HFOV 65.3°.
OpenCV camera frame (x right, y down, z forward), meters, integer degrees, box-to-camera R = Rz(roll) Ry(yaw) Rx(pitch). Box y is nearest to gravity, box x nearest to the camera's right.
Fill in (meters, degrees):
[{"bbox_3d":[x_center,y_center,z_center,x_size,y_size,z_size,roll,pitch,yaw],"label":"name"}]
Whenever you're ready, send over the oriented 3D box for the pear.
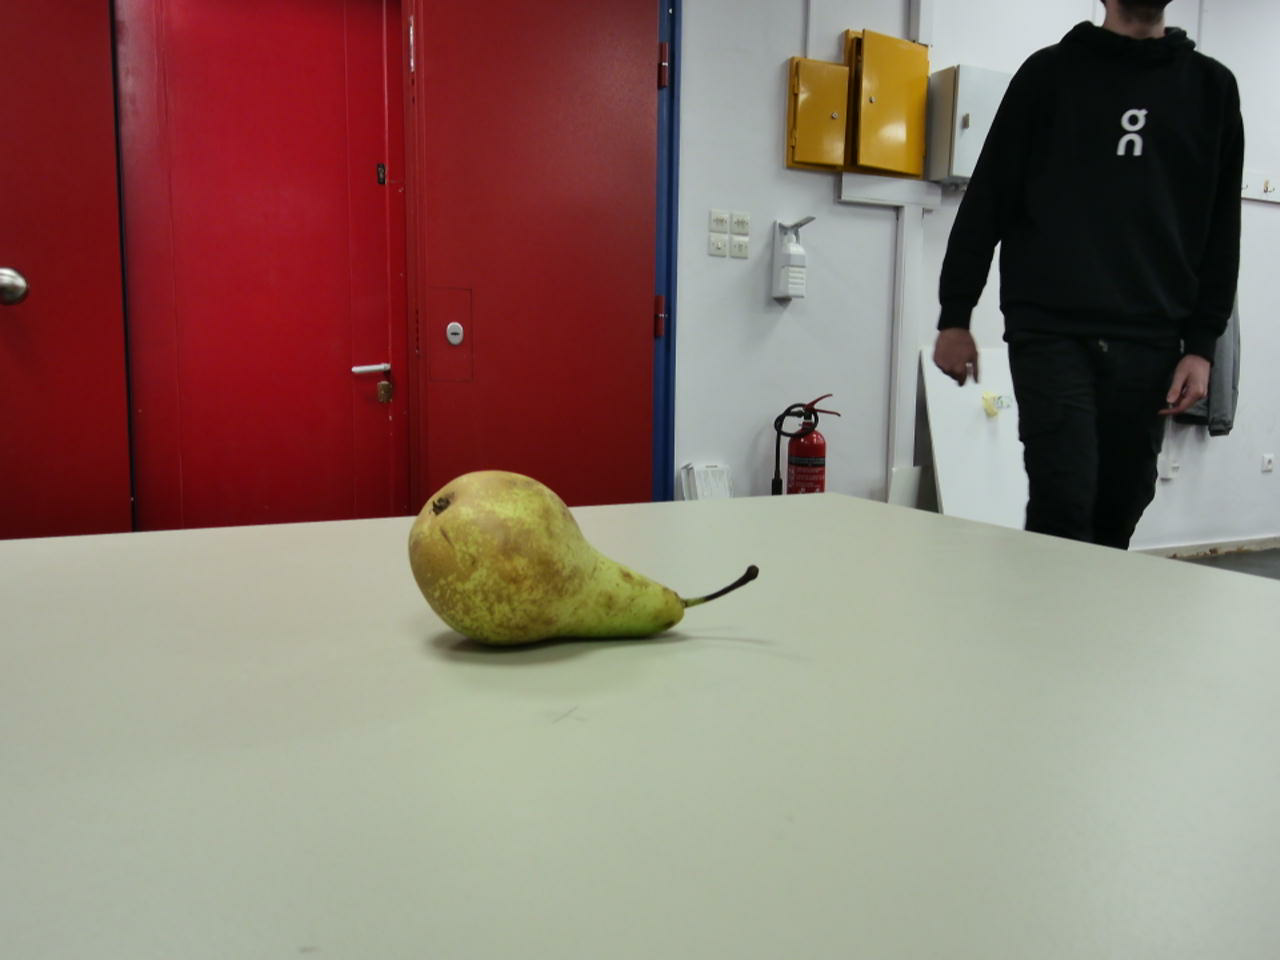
[{"bbox_3d":[-0.028,0.033,0.442,0.144,0.075,0.071,-2,4,-18],"label":"pear"}]
